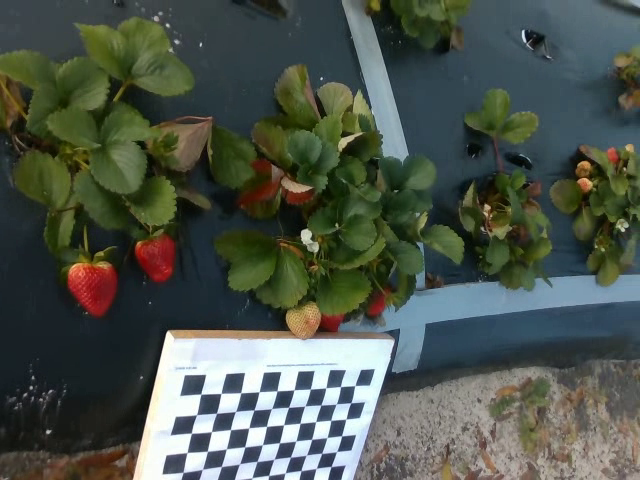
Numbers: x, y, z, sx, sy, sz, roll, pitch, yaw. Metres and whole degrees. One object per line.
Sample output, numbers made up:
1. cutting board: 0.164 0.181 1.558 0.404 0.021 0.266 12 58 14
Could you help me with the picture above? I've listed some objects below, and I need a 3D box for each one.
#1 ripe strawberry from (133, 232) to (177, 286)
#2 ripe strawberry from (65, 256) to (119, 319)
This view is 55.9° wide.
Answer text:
1. ripe strawberry: -0.165 0.020 0.603 0.042 0.053 0.034 -10 -11 -24
2. ripe strawberry: -0.217 0.049 0.573 0.050 0.061 0.045 -4 -17 -27
